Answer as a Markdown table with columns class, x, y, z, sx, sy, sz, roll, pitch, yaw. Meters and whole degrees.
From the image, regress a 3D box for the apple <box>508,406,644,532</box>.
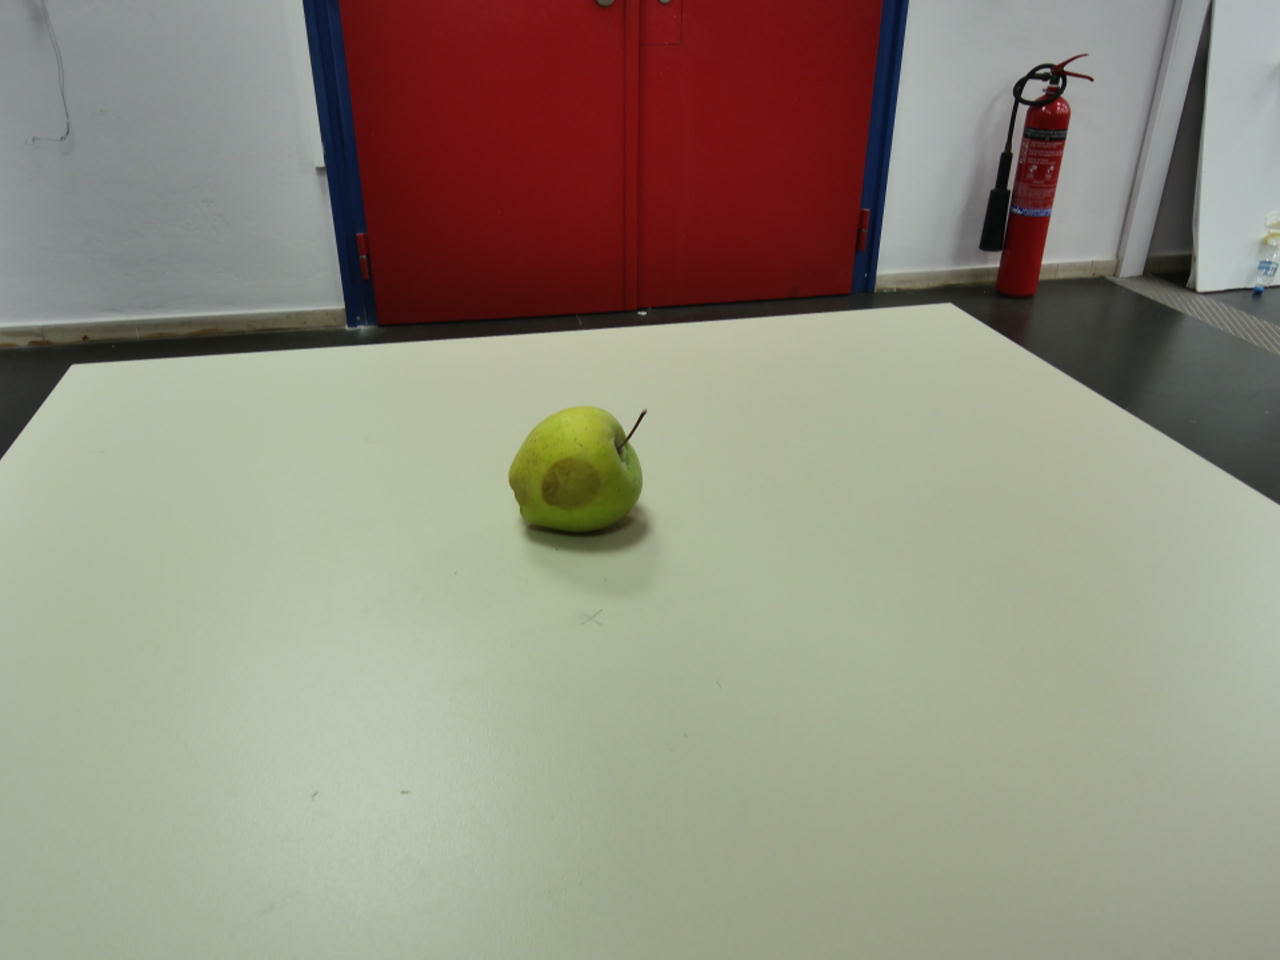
| class | x | y | z | sx | sy | sz | roll | pitch | yaw |
| --- | --- | --- | --- | --- | --- | --- | --- | --- | --- |
| apple | -0.037 | -0.007 | 0.596 | 0.077 | 0.075 | 0.072 | 16 | 30 | 28 |
